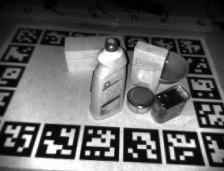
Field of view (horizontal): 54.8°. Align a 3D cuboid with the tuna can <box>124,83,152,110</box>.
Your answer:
[{"bbox_3d":[0.080,0.035,0.678,0.086,0.034,0.085,2,52,-1],"label":"tuna can"}]

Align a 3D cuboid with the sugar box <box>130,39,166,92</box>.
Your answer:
[{"bbox_3d":[0.107,-0.057,0.665,0.092,0.177,0.045,17,53,16],"label":"sugar box"}]

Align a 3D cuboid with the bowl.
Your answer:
[{"bbox_3d":[0.189,-0.073,0.768,0.161,0.055,0.161,0,49,1],"label":"bowl"}]

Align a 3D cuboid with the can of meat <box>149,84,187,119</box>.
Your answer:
[{"bbox_3d":[0.164,0.047,0.650,0.102,0.084,0.057,-20,50,-21],"label":"can of meat"}]

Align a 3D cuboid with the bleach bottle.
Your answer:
[{"bbox_3d":[-0.018,-0.021,0.581,0.103,0.252,0.067,-18,51,-16],"label":"bleach bottle"}]

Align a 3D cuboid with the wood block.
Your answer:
[{"bbox_3d":[-0.067,-0.131,0.781,0.207,0.090,0.090,-4,54,-8],"label":"wood block"}]
